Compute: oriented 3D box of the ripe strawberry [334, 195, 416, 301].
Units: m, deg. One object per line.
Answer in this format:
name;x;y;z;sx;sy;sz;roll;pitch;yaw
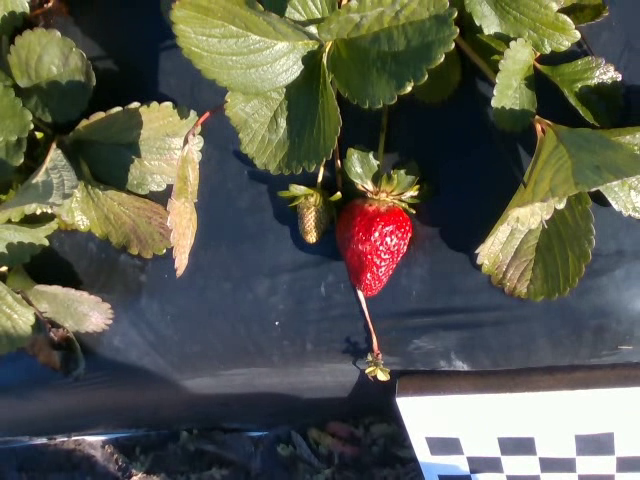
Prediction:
ripe strawberry;0.026;0.003;0.303;0.041;0.053;0.043;0;-3;9
